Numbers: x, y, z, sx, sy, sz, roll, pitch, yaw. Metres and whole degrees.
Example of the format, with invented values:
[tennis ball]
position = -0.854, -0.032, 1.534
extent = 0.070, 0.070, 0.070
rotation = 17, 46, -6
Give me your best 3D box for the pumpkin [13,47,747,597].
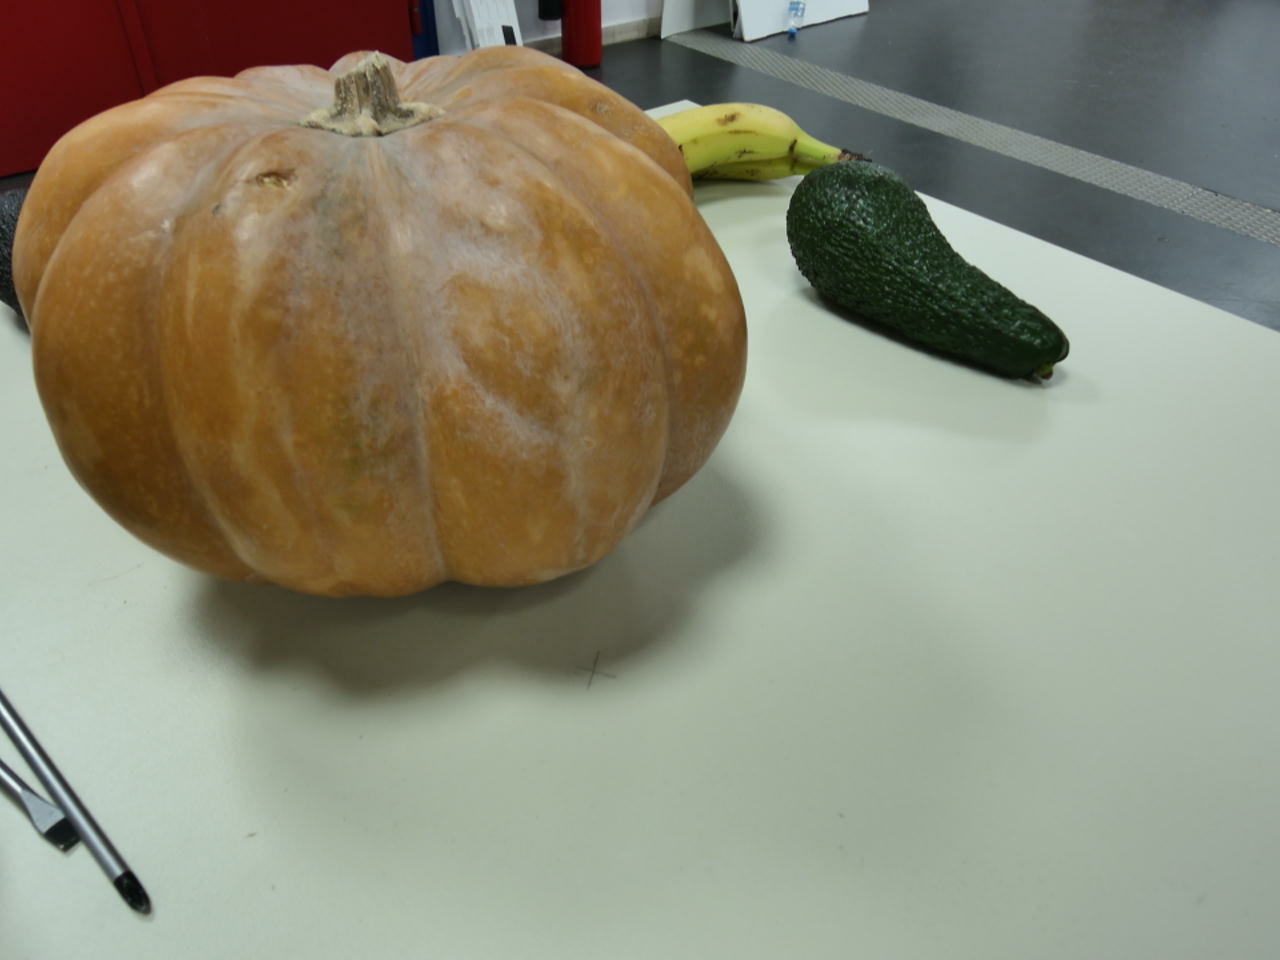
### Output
[pumpkin]
position = -0.092, -0.067, 0.390
extent = 0.277, 0.181, 0.277
rotation = 0, 37, 0
